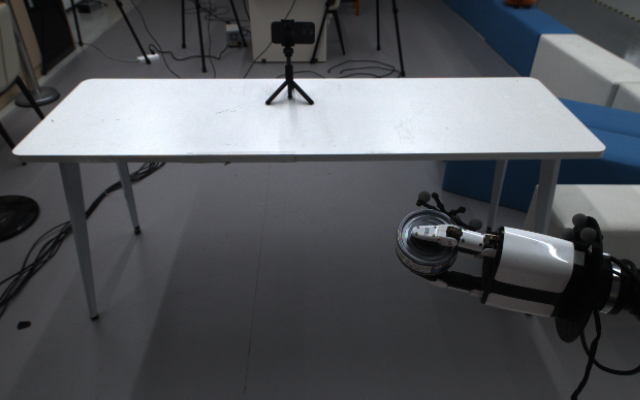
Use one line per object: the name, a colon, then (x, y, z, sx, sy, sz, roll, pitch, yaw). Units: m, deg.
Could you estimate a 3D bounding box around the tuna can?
tuna can: (0.148, 0.053, 0.652, 0.085, 0.034, 0.085, -4, 58, 6)
